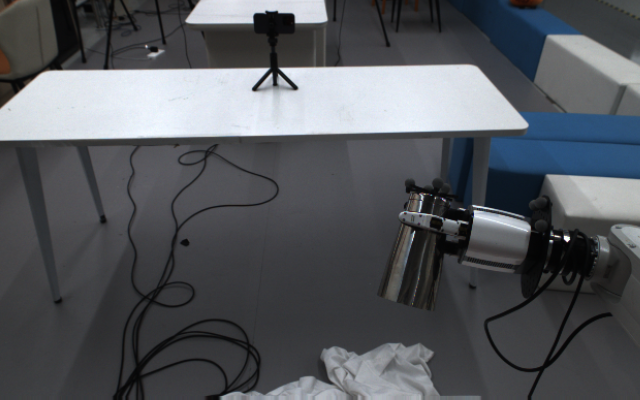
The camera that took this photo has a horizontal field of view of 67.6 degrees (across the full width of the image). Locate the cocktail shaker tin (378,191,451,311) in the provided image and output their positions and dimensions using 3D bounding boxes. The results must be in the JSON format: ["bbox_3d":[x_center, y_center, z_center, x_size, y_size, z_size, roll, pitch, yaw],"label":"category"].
[{"bbox_3d":[0.156,0.076,0.766,0.093,0.170,0.093,15,-5,1],"label":"cocktail shaker tin"}]
